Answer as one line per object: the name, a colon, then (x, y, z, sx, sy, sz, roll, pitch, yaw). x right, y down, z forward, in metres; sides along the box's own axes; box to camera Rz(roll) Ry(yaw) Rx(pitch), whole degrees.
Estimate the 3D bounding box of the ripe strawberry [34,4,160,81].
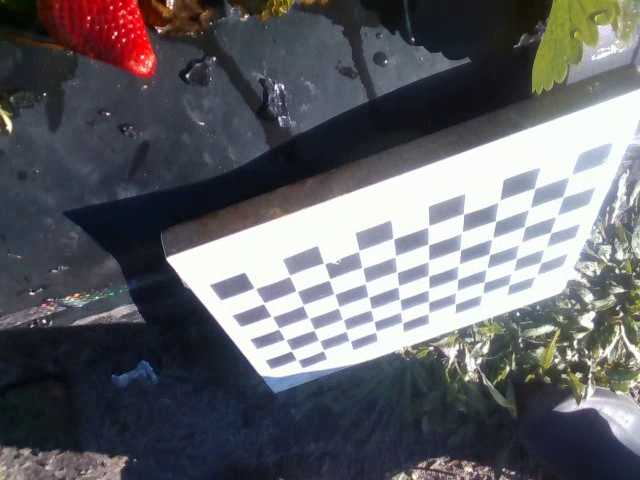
ripe strawberry: (-0.078, -0.079, 0.226, 0.040, 0.053, 0.042, -44, -11, 27)
